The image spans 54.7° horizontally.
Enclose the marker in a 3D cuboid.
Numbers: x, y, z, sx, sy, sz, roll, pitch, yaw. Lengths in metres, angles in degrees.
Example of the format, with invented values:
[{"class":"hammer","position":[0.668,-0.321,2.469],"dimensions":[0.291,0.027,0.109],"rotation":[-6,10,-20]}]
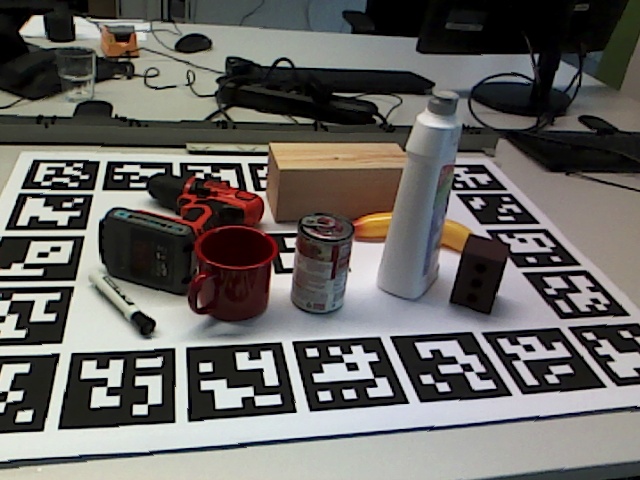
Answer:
[{"class":"marker","position":[-0.222,0.074,0.695],"dimensions":[0.019,0.019,0.122],"rotation":[-23,43,-36]}]

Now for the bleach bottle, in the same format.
[{"class":"bleach bottle","position":[0.121,-0.052,0.746],"dimensions":[0.068,0.250,0.102],"rotation":[14,30,12]}]

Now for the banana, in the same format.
[{"class":"banana","position":[0.122,-0.019,0.892],"dimensions":[0.197,0.039,0.074],"rotation":[9,45,-1]}]

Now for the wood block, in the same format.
[{"class":"wood block","position":[0.027,-0.083,0.936],"dimensions":[0.205,0.091,0.090],"rotation":[-2,33,-14]}]

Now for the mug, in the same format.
[{"class":"mug","position":[-0.107,0.042,0.706],"dimensions":[0.094,0.081,0.117],"rotation":[24,38,22]}]

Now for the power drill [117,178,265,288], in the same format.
[{"class":"power drill","position":[-0.186,-0.019,0.826],"dimensions":[0.185,0.057,0.187],"rotation":[17,31,10]}]

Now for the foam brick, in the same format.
[{"class":"foam brick","position":[0.198,0.046,0.770],"dimensions":[0.053,0.078,0.051],"rotation":[15,30,17]}]

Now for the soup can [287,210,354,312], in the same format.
[{"class":"soup can","position":[-0.001,0.025,0.727],"dimensions":[0.068,0.102,0.068],"rotation":[6,27,-3]}]
